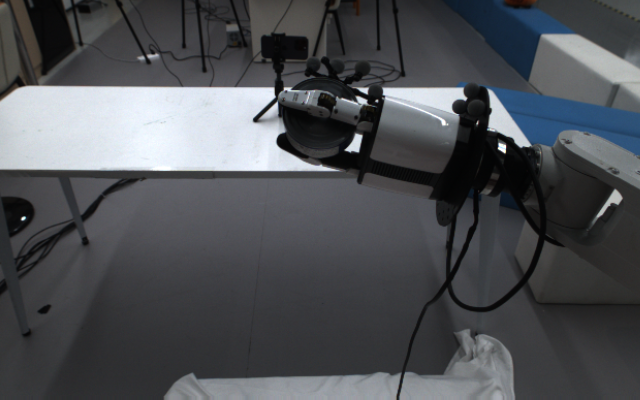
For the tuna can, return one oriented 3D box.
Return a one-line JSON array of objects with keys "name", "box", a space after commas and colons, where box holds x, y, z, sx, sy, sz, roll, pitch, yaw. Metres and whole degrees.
[{"name": "tuna can", "box": [0.002, -0.093, 0.543, 0.085, 0.034, 0.085, 0, 72, 0]}]
